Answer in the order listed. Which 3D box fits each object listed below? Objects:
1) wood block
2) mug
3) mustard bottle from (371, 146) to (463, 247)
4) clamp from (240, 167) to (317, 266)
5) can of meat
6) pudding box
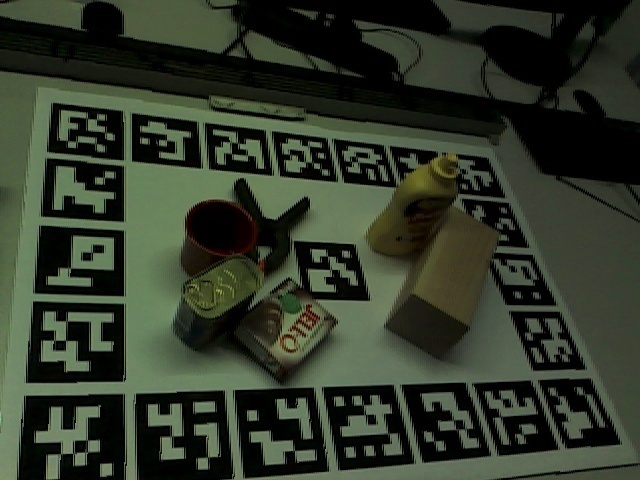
[{"bbox_3d":[0.192,0.053,0.902,0.090,0.091,0.206,30,44,4],"label":"wood block"},{"bbox_3d":[-0.138,-0.003,0.828,0.093,0.081,0.117,21,48,-8],"label":"mug"},{"bbox_3d":[0.153,-0.066,0.906,0.096,0.191,0.059,-1,54,-25],"label":"mustard bottle"},{"bbox_3d":[-0.071,-0.027,0.885,0.121,0.036,0.165,20,49,-11],"label":"clamp"},{"bbox_3d":[-0.118,0.065,0.740,0.101,0.084,0.058,-27,69,-39],"label":"can of meat"},{"bbox_3d":[-0.034,0.105,0.785,0.090,0.039,0.113,41,46,11],"label":"pudding box"}]
